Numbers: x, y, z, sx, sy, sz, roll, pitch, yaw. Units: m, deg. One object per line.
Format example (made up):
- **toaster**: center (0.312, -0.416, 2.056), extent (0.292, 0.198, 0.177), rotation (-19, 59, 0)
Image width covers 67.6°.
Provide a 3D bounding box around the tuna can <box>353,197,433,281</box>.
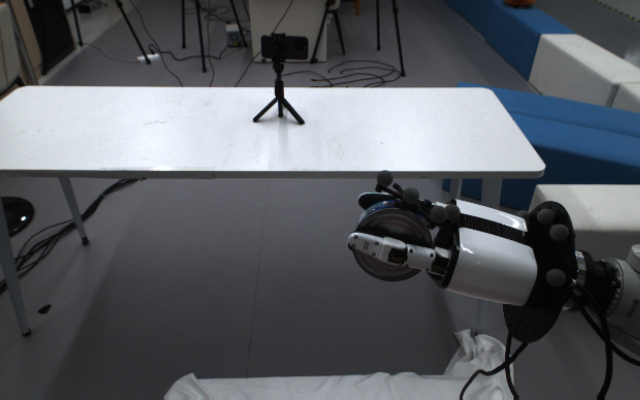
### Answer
- **tuna can**: center (0.082, 0.043, 0.535), extent (0.085, 0.085, 0.034), rotation (7, 16, 7)
